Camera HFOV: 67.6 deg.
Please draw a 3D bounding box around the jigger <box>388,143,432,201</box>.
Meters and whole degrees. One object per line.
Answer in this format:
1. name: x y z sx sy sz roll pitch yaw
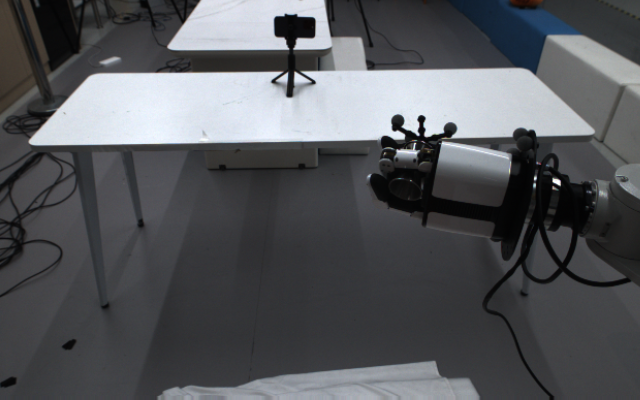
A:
1. jigger: 0.121 -0.039 0.620 0.043 0.043 0.071 13 58 15
